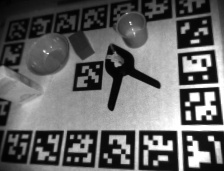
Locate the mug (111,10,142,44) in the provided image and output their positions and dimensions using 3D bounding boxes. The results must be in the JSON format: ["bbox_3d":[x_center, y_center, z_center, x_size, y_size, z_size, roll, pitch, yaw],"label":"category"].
[{"bbox_3d":[0.039,-0.187,0.676,0.116,0.082,0.093,23,81,19],"label":"mug"}]

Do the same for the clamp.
[{"bbox_3d":[0.011,-0.057,0.664,0.165,0.037,0.201,-27,68,10],"label":"clamp"}]

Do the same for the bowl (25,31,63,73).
[{"bbox_3d":[-0.230,-0.111,0.753,0.160,0.056,0.161,-5,72,15],"label":"bowl"}]

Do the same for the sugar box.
[{"bbox_3d":[-0.322,0.004,0.679,0.092,0.178,0.045,-28,68,7],"label":"sugar box"}]

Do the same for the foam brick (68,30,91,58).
[{"bbox_3d":[-0.116,-0.143,0.736,0.052,0.052,0.077,-31,67,8],"label":"foam brick"}]
